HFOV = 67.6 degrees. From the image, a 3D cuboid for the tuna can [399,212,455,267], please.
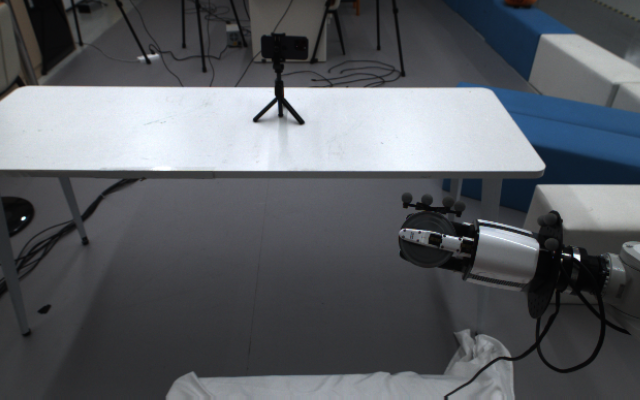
[{"bbox_3d":[0.164,0.056,0.735,0.085,0.085,0.034,11,-7,12],"label":"tuna can"}]
